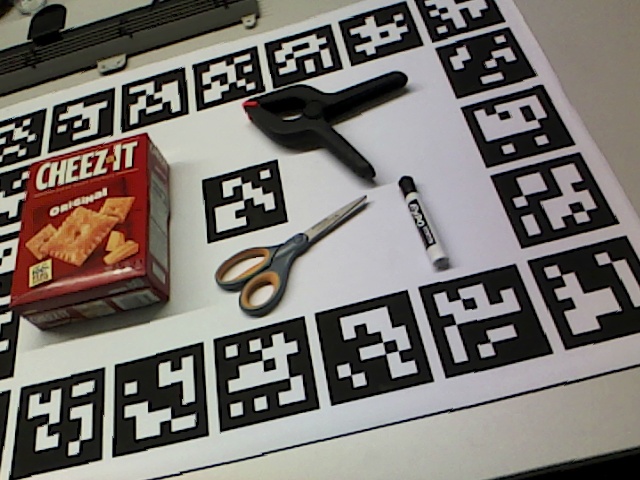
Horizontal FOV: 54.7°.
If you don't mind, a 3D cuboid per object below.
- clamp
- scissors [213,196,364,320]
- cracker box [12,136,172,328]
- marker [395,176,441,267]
[{"bbox_3d":[-0.008,-0.155,0.814,0.204,0.036,0.165,12,60,22],"label":"clamp"},{"bbox_3d":[-0.030,0.007,0.708,0.202,0.016,0.088,-37,54,-12],"label":"scissors"},{"bbox_3d":[-0.272,-0.015,0.761,0.164,0.071,0.214,-13,55,7],"label":"cracker box"},{"bbox_3d":[0.108,-0.025,0.688,0.019,0.019,0.121,-17,54,4],"label":"marker"}]
